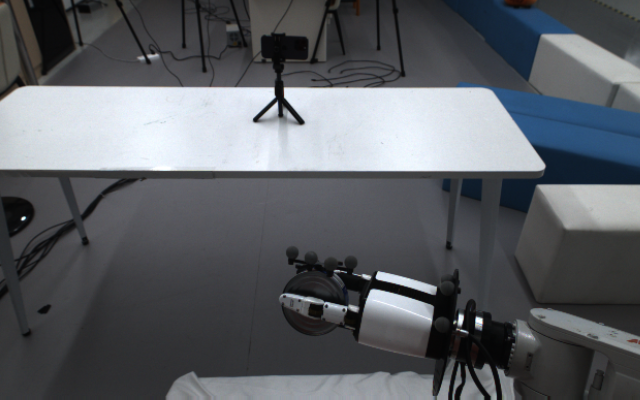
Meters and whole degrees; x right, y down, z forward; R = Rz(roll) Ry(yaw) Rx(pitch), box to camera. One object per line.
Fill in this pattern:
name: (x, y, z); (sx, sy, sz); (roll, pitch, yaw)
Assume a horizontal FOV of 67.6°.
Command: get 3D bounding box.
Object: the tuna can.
tuna can: (-0.004, 0.132, 0.638); (0.085, 0.085, 0.034); (11, 2, 13)
